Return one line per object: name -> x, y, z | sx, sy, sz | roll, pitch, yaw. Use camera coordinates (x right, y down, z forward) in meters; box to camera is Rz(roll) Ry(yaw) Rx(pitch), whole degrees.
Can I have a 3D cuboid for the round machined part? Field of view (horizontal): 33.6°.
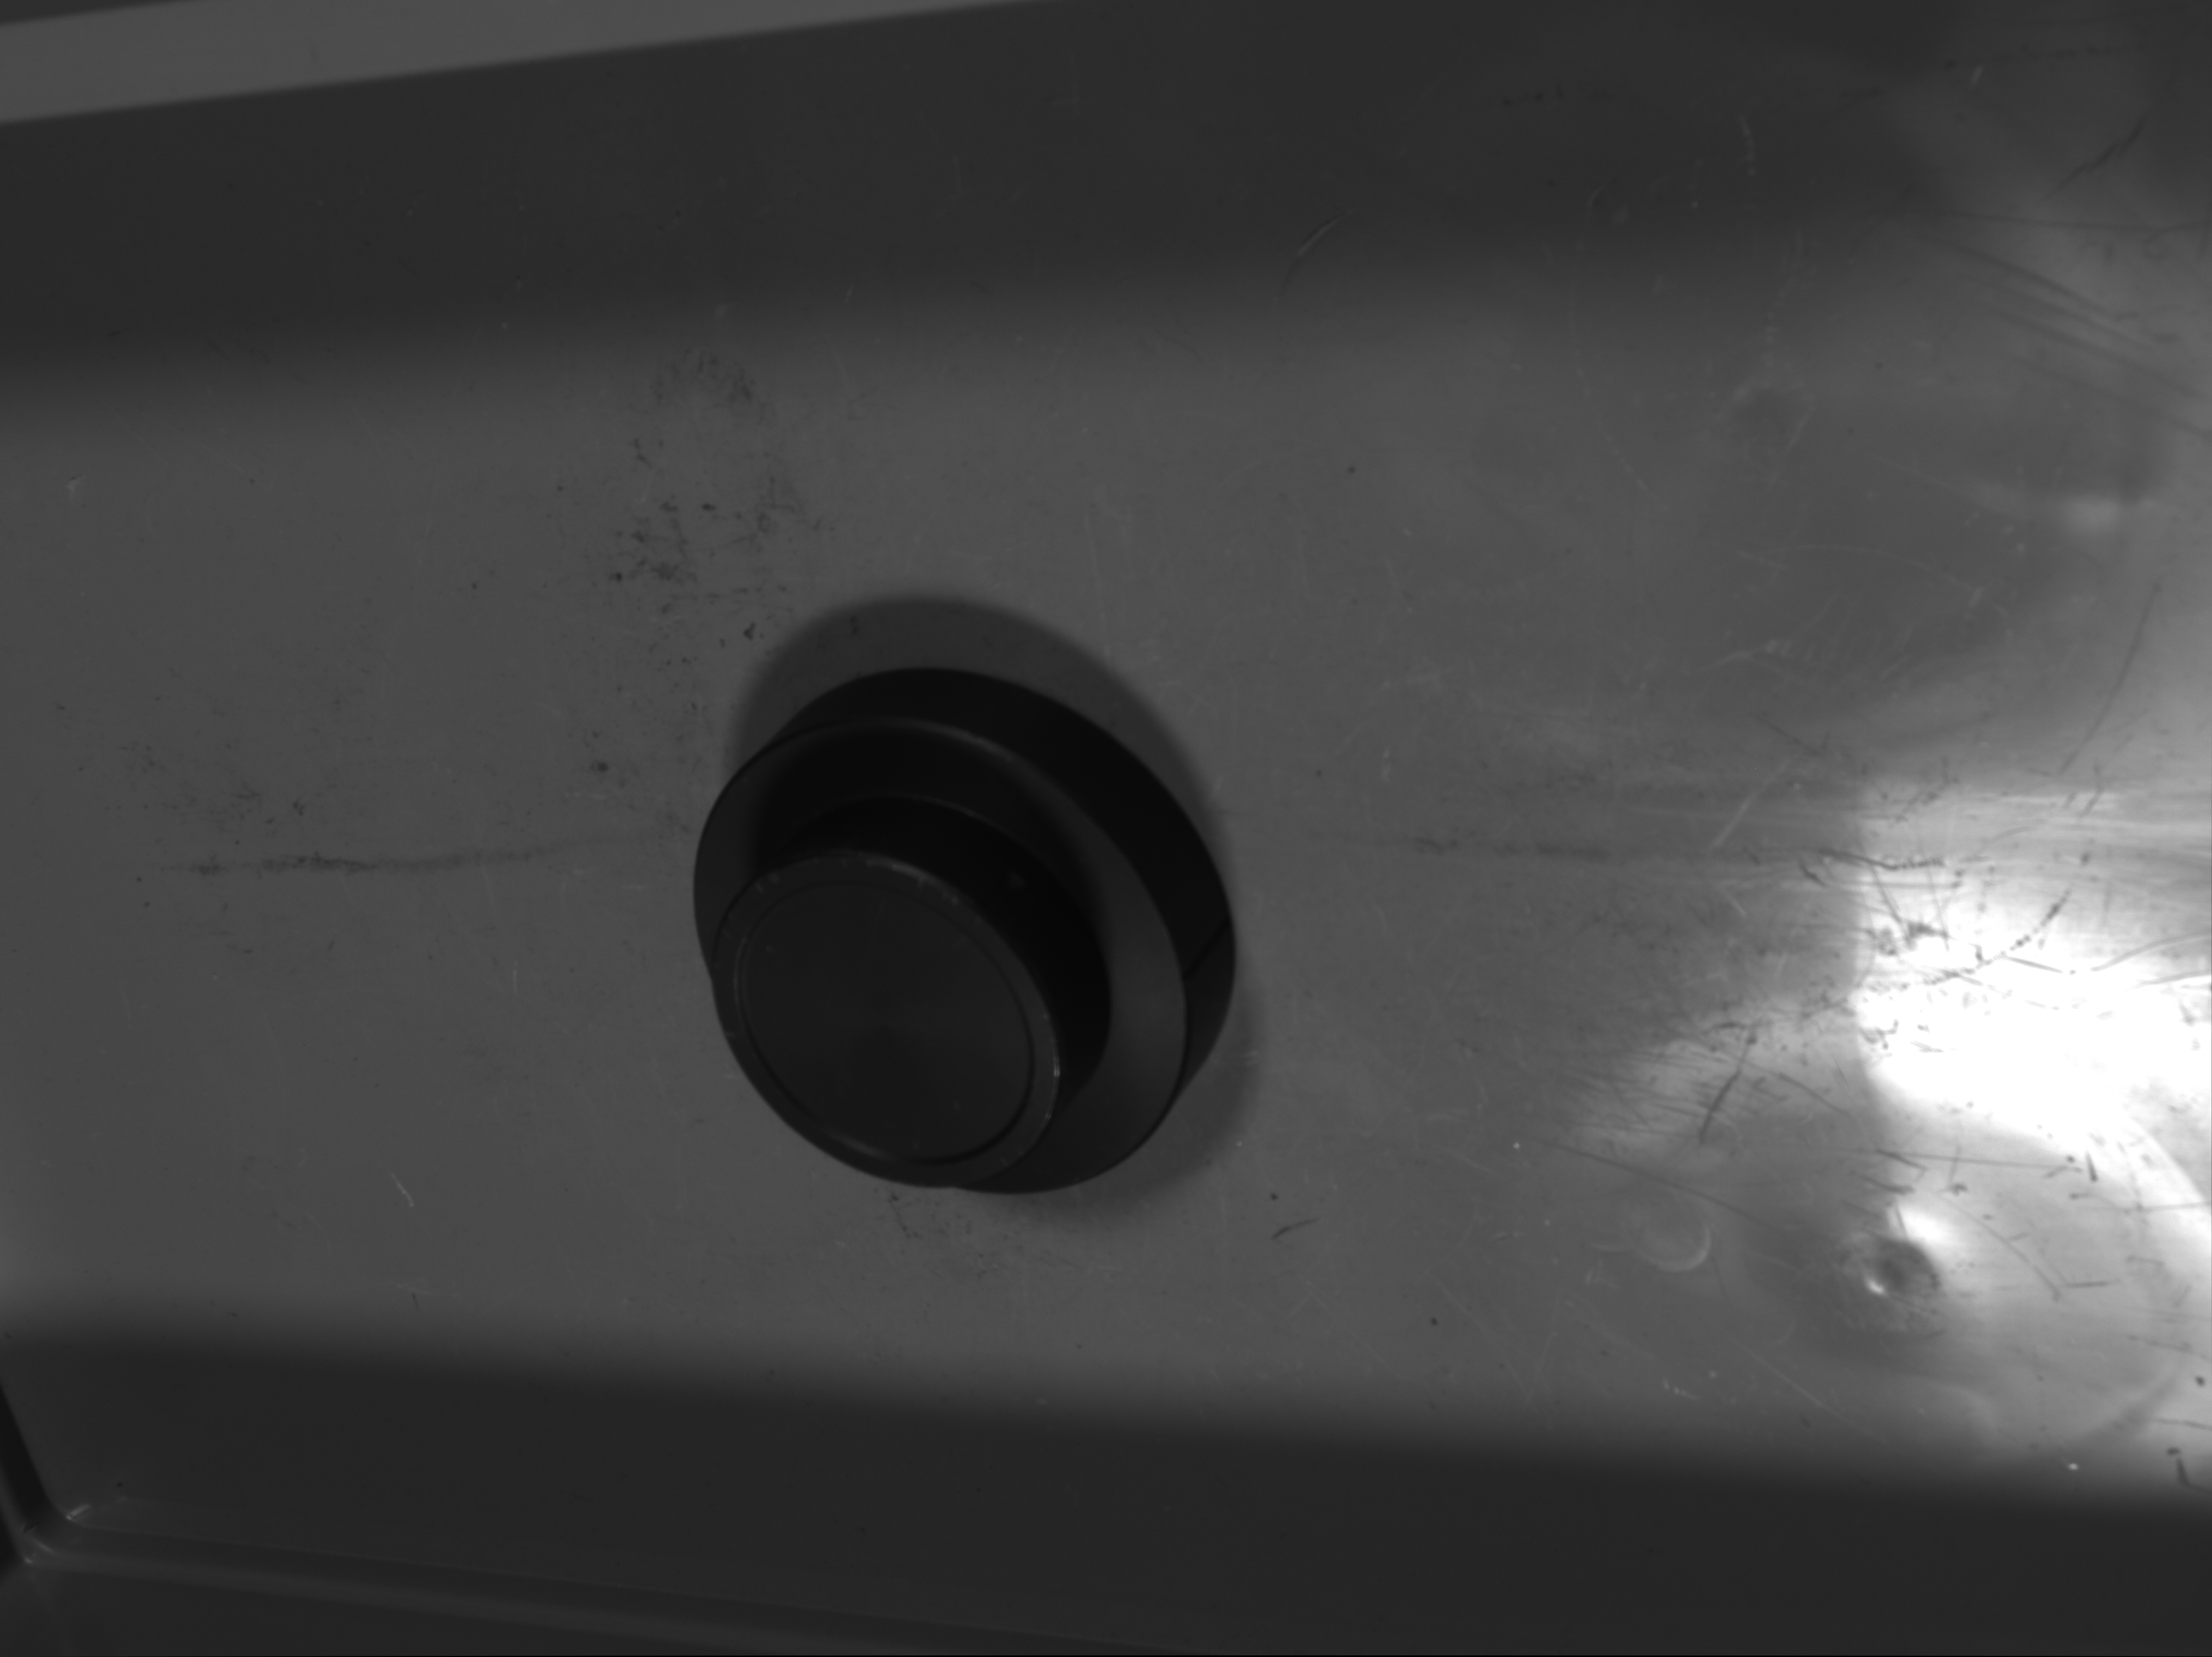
round machined part -> -0.037, 0.025, 0.650 | 0.098, 0.042, 0.098 | 12, 123, 20
